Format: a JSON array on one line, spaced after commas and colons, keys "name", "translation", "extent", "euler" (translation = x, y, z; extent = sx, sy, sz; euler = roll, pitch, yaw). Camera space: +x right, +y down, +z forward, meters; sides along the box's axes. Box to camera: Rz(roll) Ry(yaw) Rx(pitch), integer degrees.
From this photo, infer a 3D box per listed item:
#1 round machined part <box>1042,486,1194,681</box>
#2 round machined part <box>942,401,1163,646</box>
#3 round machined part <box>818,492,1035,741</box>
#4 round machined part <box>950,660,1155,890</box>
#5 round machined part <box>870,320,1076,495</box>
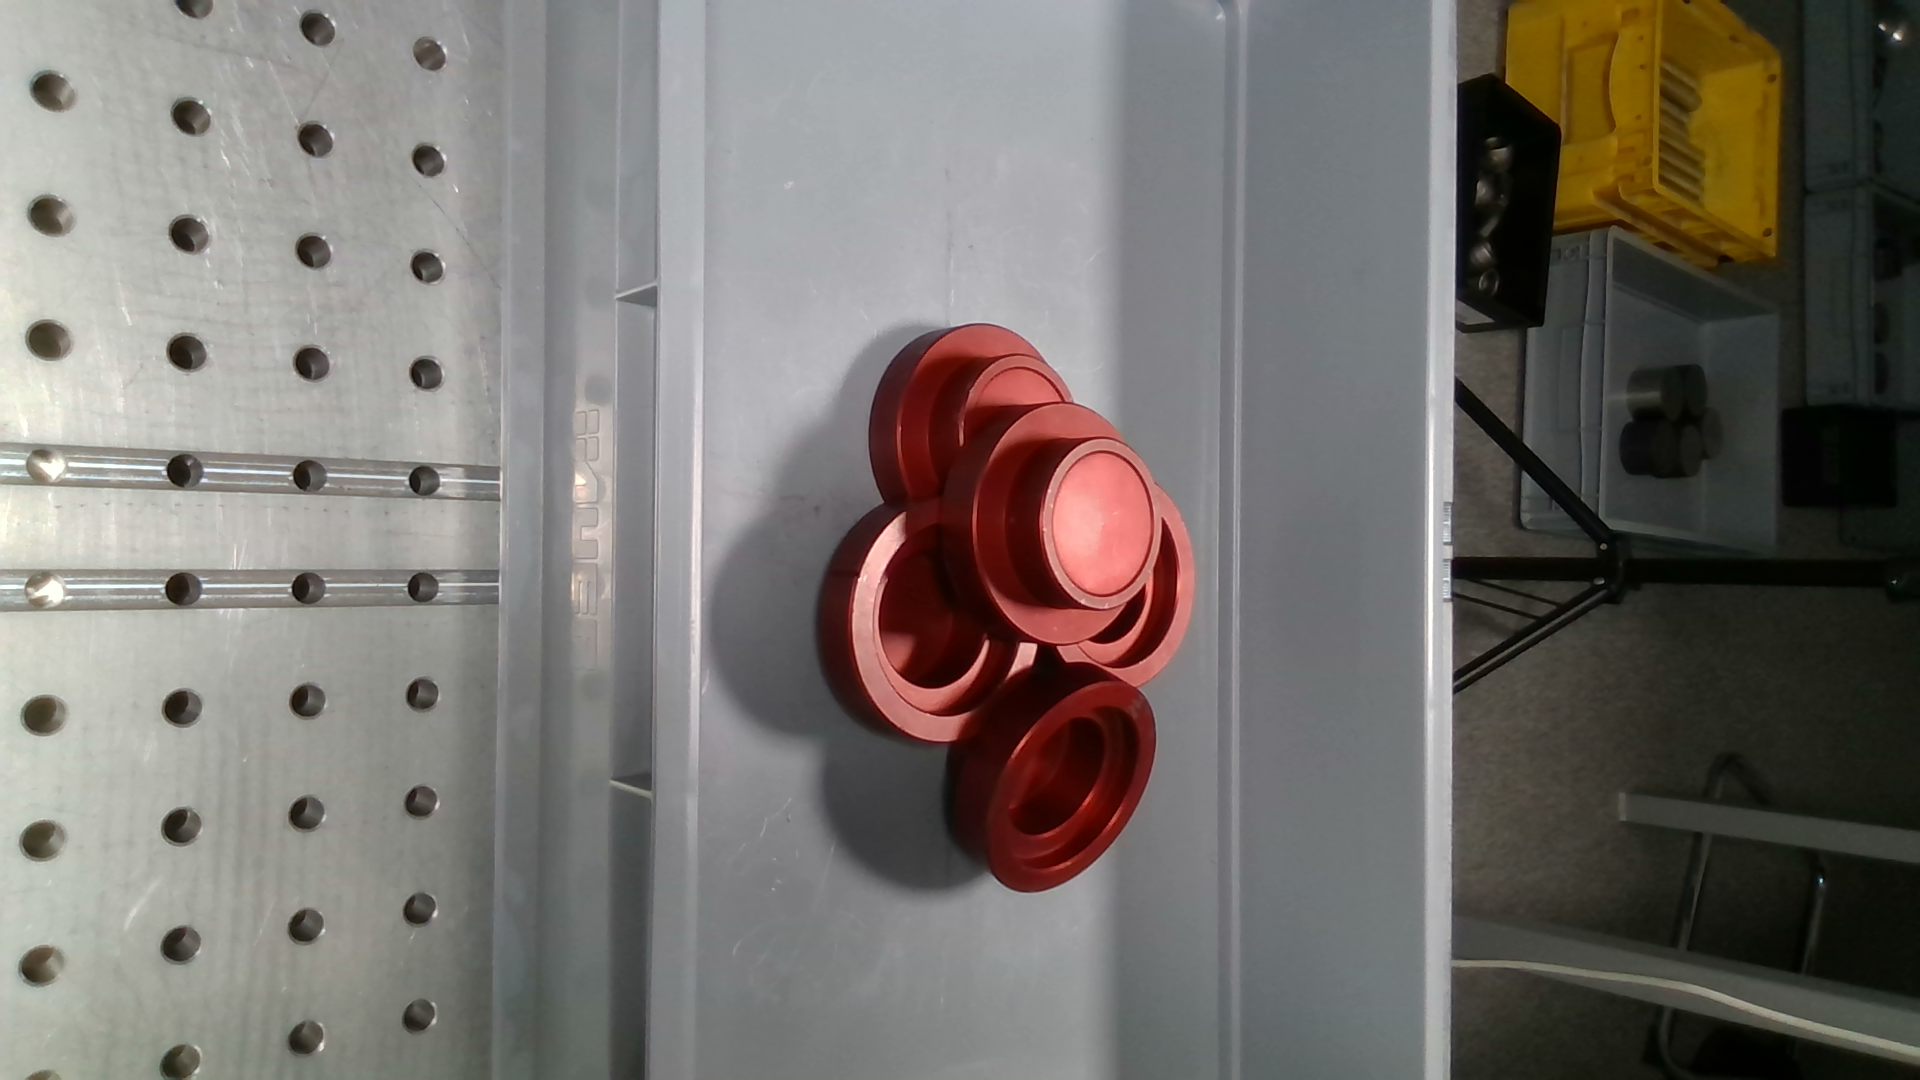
[{"name": "round machined part", "translation": [0.057, 0.017, 0.619], "extent": [0.098, 0.042, 0.098], "euler": [0, 90, -40]}, {"name": "round machined part", "translation": [0.043, -0.007, 0.550], "extent": [0.098, 0.042, 0.098], "euler": [0, 90, -40]}, {"name": "round machined part", "translation": [-0.017, 0.030, 0.556], "extent": [0.098, 0.042, 0.098], "euler": [0, 90, -40]}, {"name": "round machined part", "translation": [0.035, 0.095, 0.586], "extent": [0.098, 0.042, 0.098], "euler": [-21, 123, -35]}, {"name": "round machined part", "translation": [0.013, -0.043, 0.579], "extent": [0.098, 0.042, 0.098], "euler": [0, 90, -40]}]
